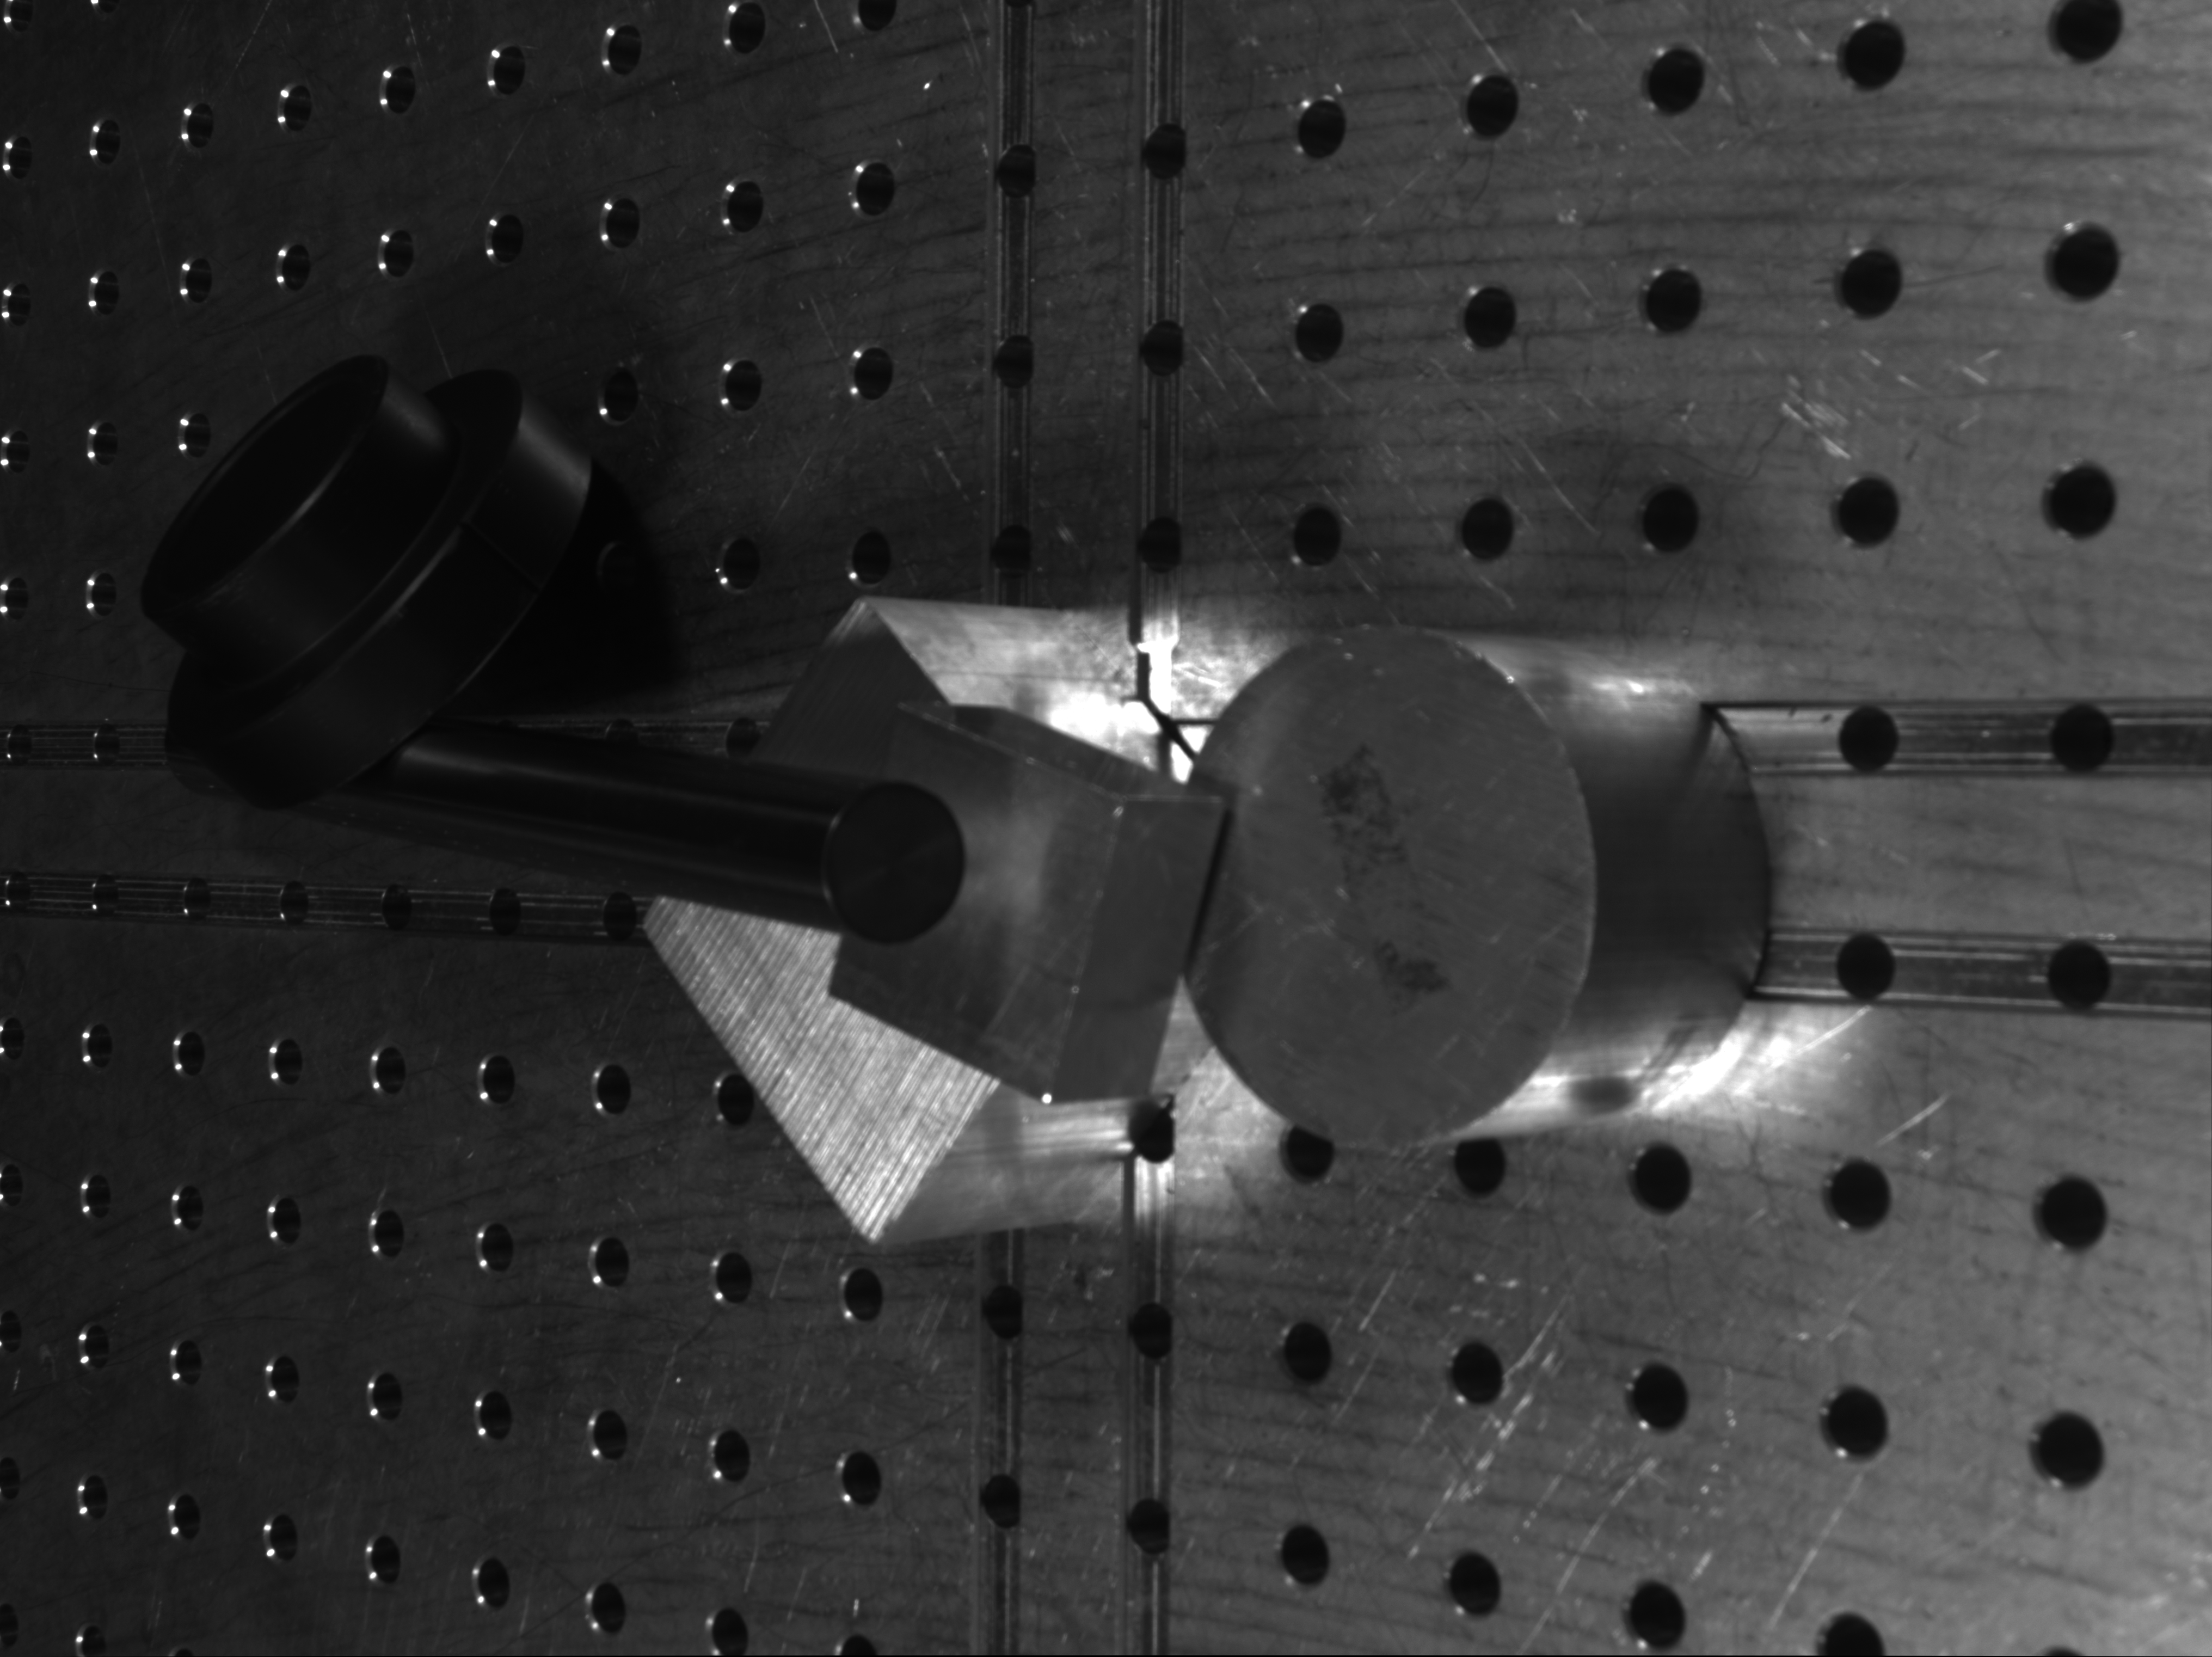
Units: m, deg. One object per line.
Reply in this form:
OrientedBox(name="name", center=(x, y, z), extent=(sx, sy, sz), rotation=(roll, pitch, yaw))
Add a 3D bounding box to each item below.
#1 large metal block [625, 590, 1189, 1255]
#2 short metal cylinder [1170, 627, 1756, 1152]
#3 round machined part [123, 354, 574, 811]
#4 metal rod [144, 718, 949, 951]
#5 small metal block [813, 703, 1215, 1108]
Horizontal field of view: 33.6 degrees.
OrientedBox(name="large metal block", center=(-0.027, 0.016, 0.642), extent=(0.080, 0.050, 0.080), rotation=(51, 119, 27))
OrientedBox(name="short metal cylinder", center=(0.055, 0.009, 0.578), extent=(0.080, 0.050, 0.080), rotation=(0, 90, 39))
OrientedBox(name="round machined part", center=(-0.154, -0.054, 0.720), extent=(0.098, 0.042, 0.098), rotation=(-33, 31, 23))
OrientedBox(name="metal rod", center=(-0.117, -0.007, 0.678), extent=(0.299, 0.025, 0.025), rotation=(9, 96, 56))
OrientedBox(name="small metal block", center=(-0.015, 0.012, 0.584), extent=(0.050, 0.025, 0.050), rotation=(23, 104, 37))
